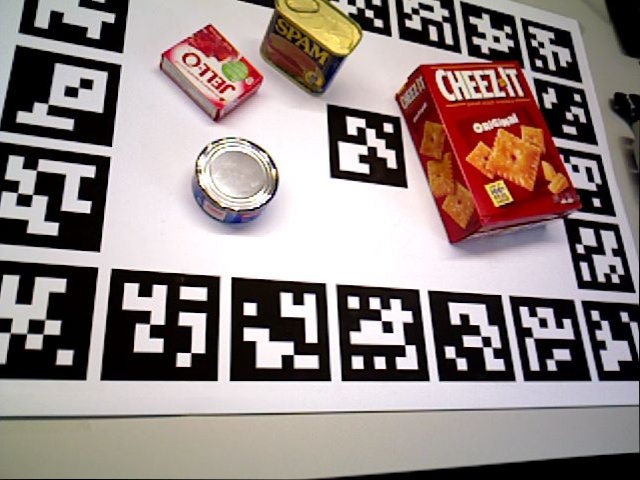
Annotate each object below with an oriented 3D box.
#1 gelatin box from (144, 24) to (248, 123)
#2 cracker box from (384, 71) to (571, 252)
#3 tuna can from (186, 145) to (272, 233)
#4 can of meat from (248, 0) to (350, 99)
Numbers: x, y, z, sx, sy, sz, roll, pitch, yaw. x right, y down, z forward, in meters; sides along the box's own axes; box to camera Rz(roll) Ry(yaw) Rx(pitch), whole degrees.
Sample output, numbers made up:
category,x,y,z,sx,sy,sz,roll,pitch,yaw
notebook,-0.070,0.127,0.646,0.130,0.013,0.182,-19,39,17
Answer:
category,x,y,z,sx,sy,sz,roll,pitch,yaw
gelatin box,-0.136,-0.186,0.601,0.089,0.031,0.071,44,57,-4
cracker box,0.200,-0.106,0.690,0.161,0.073,0.213,-12,73,-28
tuna can,-0.094,-0.052,0.560,0.085,0.034,0.085,6,71,-19
can of meat,-0.028,-0.226,0.639,0.101,0.085,0.056,32,60,-6
